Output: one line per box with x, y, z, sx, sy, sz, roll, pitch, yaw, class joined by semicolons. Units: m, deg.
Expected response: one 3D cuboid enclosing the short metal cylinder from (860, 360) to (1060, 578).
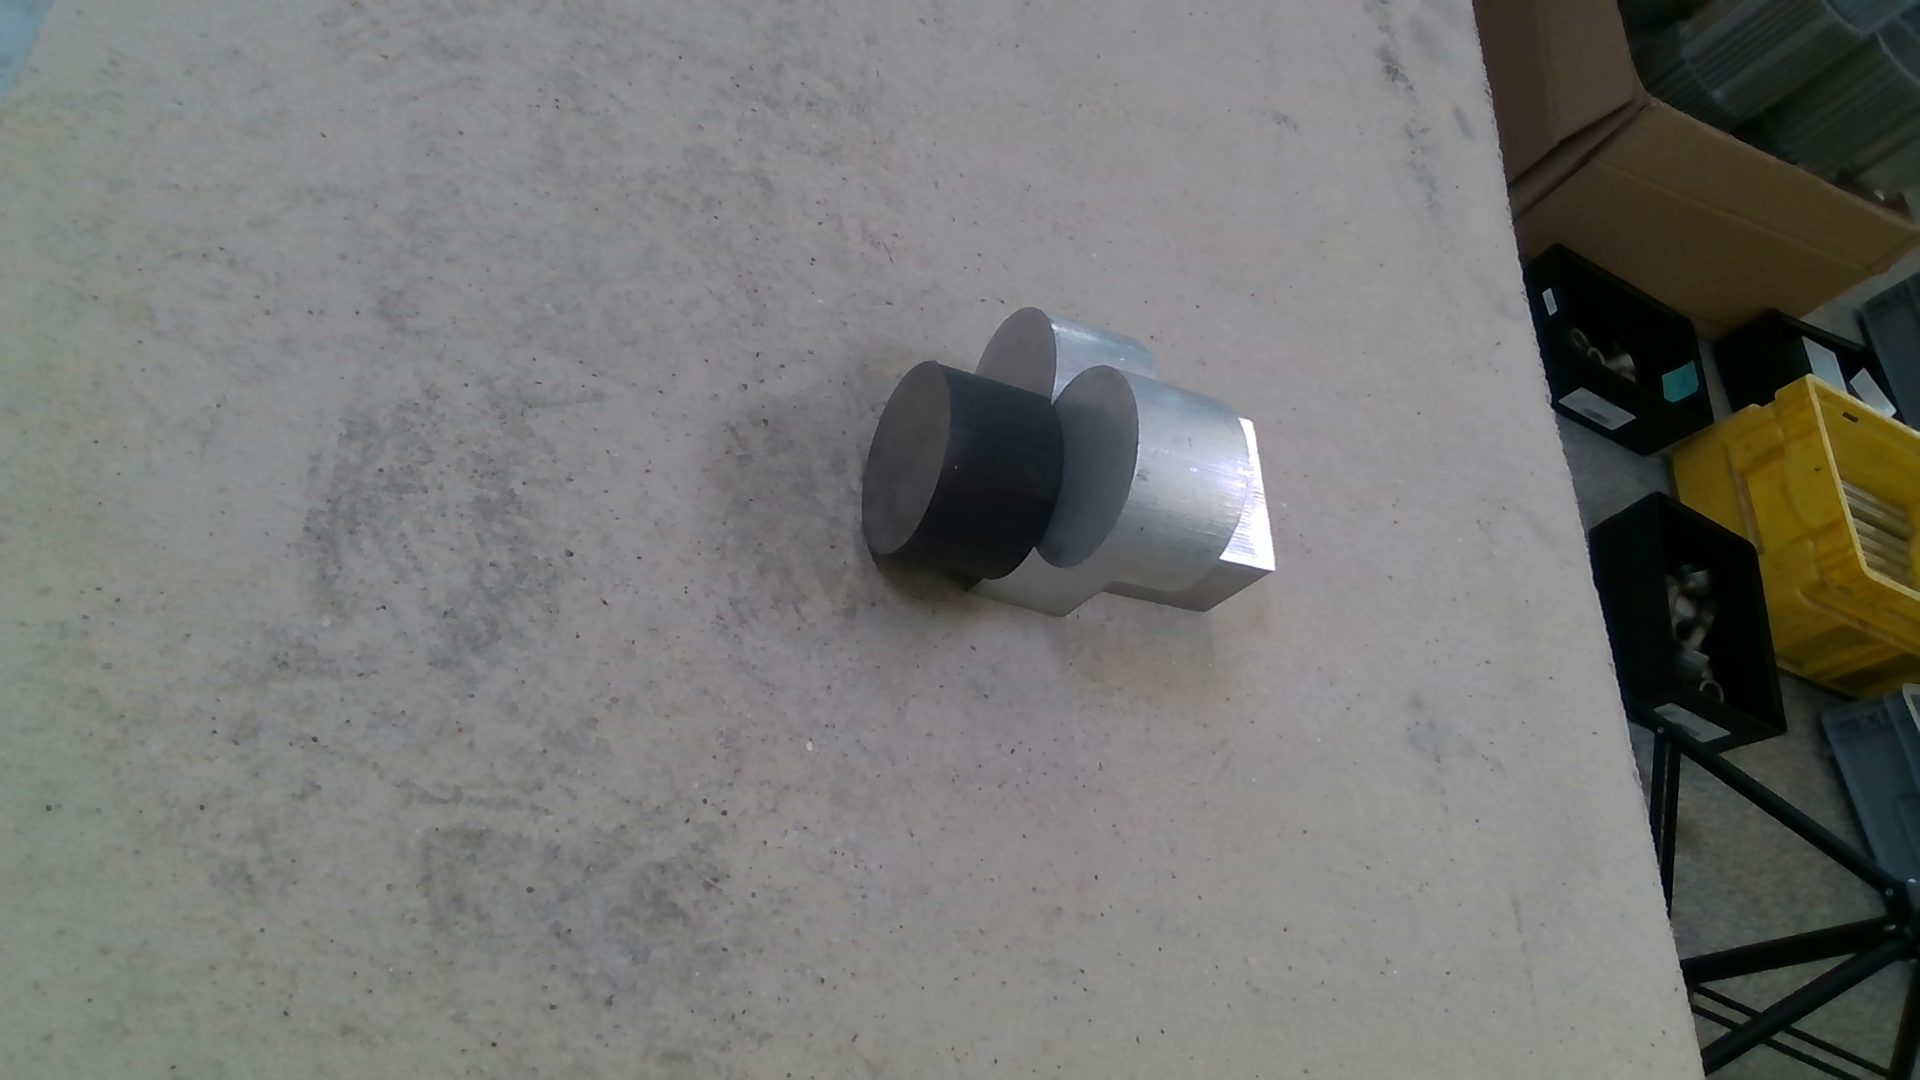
-0.002;-0.028;0.566;0.050;0.080;0.080;14;59;-25;short metal cylinder

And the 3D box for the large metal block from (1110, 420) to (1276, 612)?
0.094;-0.019;0.639;0.080;0.050;0.080;12;59;-26;large metal block

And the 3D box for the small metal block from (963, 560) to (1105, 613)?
0.035;0.006;0.592;0.050;0.050;0.025;15;58;-24;small metal block

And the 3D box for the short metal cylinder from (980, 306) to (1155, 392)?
0.042;-0.058;0.609;0.050;0.080;0.080;12;59;-26;short metal cylinder

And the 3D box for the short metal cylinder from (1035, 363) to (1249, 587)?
0.068;-0.024;0.542;0.050;0.080;0.080;12;59;-26;short metal cylinder
